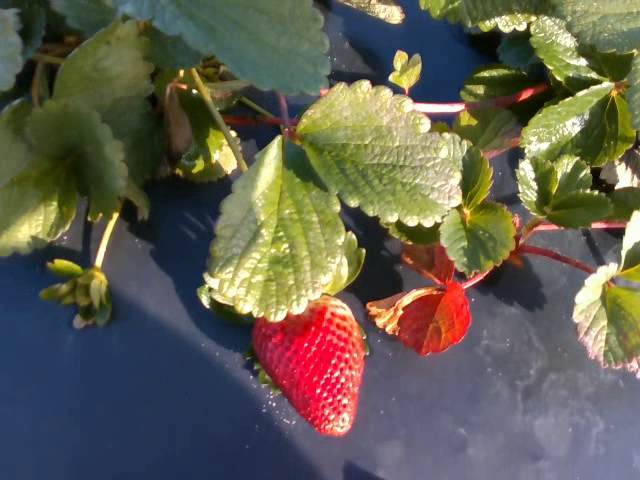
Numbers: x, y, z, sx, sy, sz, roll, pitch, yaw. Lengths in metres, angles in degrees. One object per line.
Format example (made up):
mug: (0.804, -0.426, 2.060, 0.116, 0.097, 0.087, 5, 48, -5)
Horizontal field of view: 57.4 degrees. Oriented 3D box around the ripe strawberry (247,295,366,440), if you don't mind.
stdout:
ripe strawberry: (-0.003, 0.044, 0.194, 0.040, 0.056, 0.041, -28, -41, 13)
